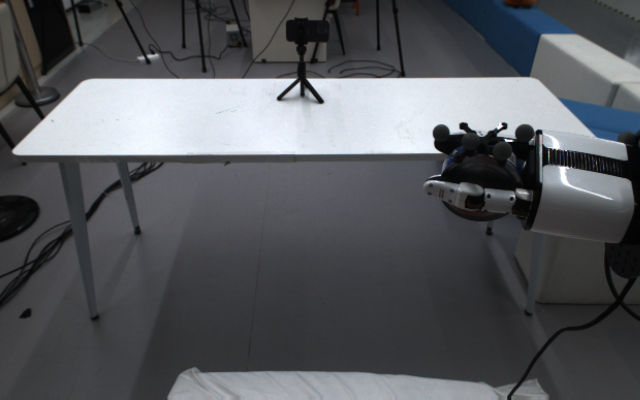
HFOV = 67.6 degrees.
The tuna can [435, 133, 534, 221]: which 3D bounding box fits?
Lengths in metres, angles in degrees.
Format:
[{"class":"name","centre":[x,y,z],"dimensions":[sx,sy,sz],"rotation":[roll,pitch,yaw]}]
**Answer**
[{"class":"tuna can","centre":[0.175,-0.022,0.524],"dimensions":[0.085,0.085,0.034],"rotation":[12,39,14]}]
